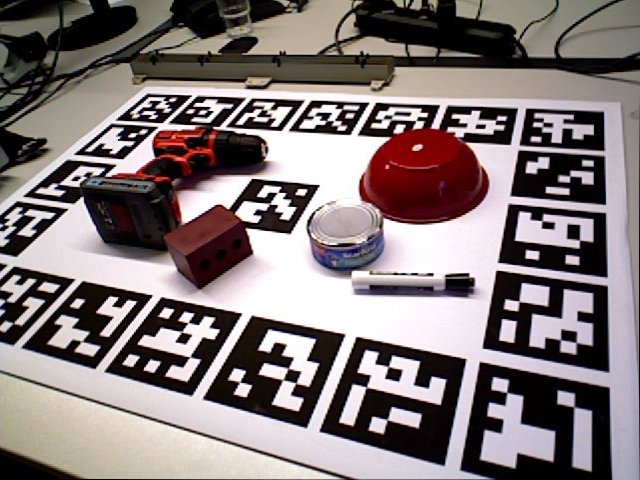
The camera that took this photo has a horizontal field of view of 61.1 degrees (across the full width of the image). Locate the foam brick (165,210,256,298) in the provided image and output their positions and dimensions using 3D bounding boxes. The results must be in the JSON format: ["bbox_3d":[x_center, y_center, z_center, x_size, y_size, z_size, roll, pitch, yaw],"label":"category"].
[{"bbox_3d":[-0.120,0.014,0.599,0.051,0.054,0.076,29,56,35],"label":"foam brick"}]

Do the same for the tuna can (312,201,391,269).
[{"bbox_3d":[0.035,-0.008,0.590,0.085,0.034,0.084,-5,42,4],"label":"tuna can"}]

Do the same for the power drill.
[{"bbox_3d":[-0.193,-0.075,0.710,0.185,0.058,0.183,8,42,16],"label":"power drill"}]

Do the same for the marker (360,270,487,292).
[{"bbox_3d":[0.100,0.040,0.531,0.121,0.020,0.019,0,43,13],"label":"marker"}]

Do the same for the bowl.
[{"bbox_3d":[0.123,-0.086,0.659,0.161,0.056,0.159,-8,33,4],"label":"bowl"}]
